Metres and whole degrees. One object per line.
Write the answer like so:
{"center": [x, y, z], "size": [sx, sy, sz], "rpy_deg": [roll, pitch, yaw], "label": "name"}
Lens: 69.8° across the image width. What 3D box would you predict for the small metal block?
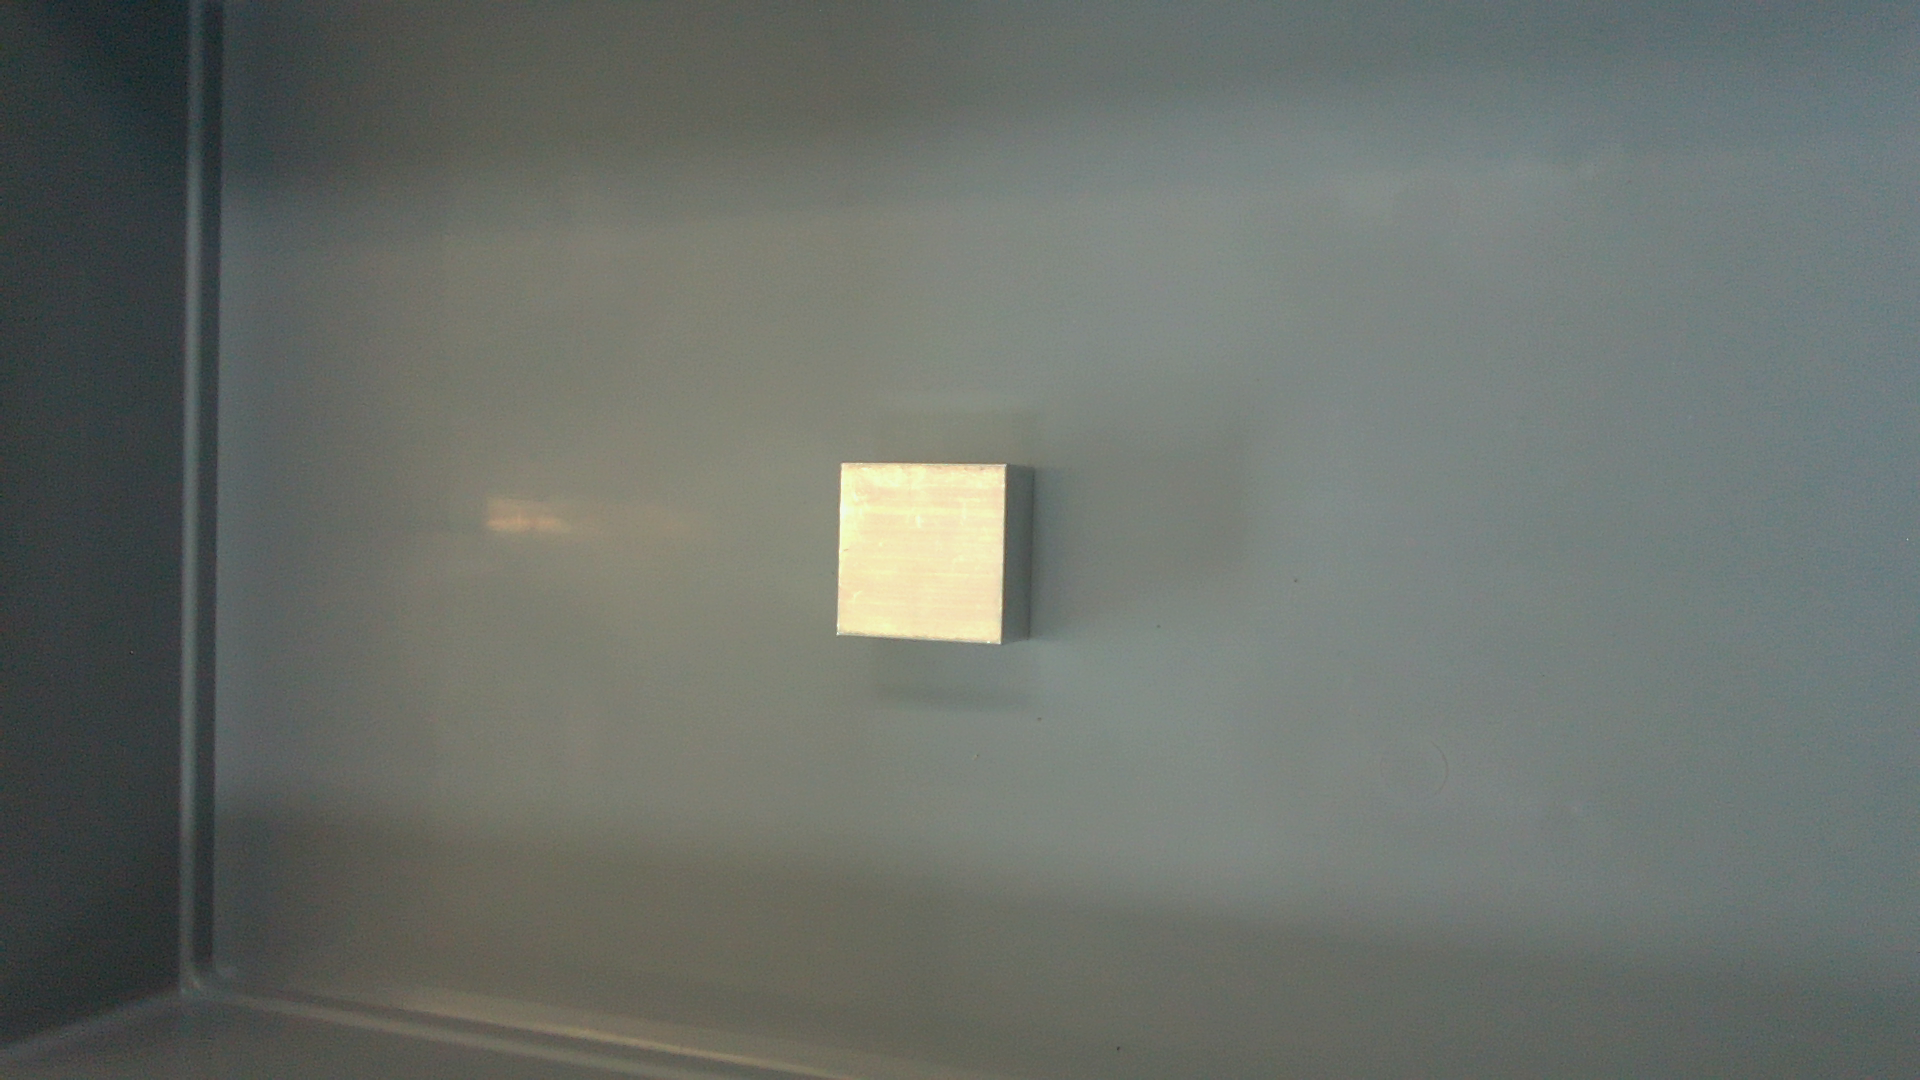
{"center": [-0.007, 0.003, 0.395], "size": [0.050, 0.025, 0.050], "rpy_deg": [2, 91, 20], "label": "small metal block"}
